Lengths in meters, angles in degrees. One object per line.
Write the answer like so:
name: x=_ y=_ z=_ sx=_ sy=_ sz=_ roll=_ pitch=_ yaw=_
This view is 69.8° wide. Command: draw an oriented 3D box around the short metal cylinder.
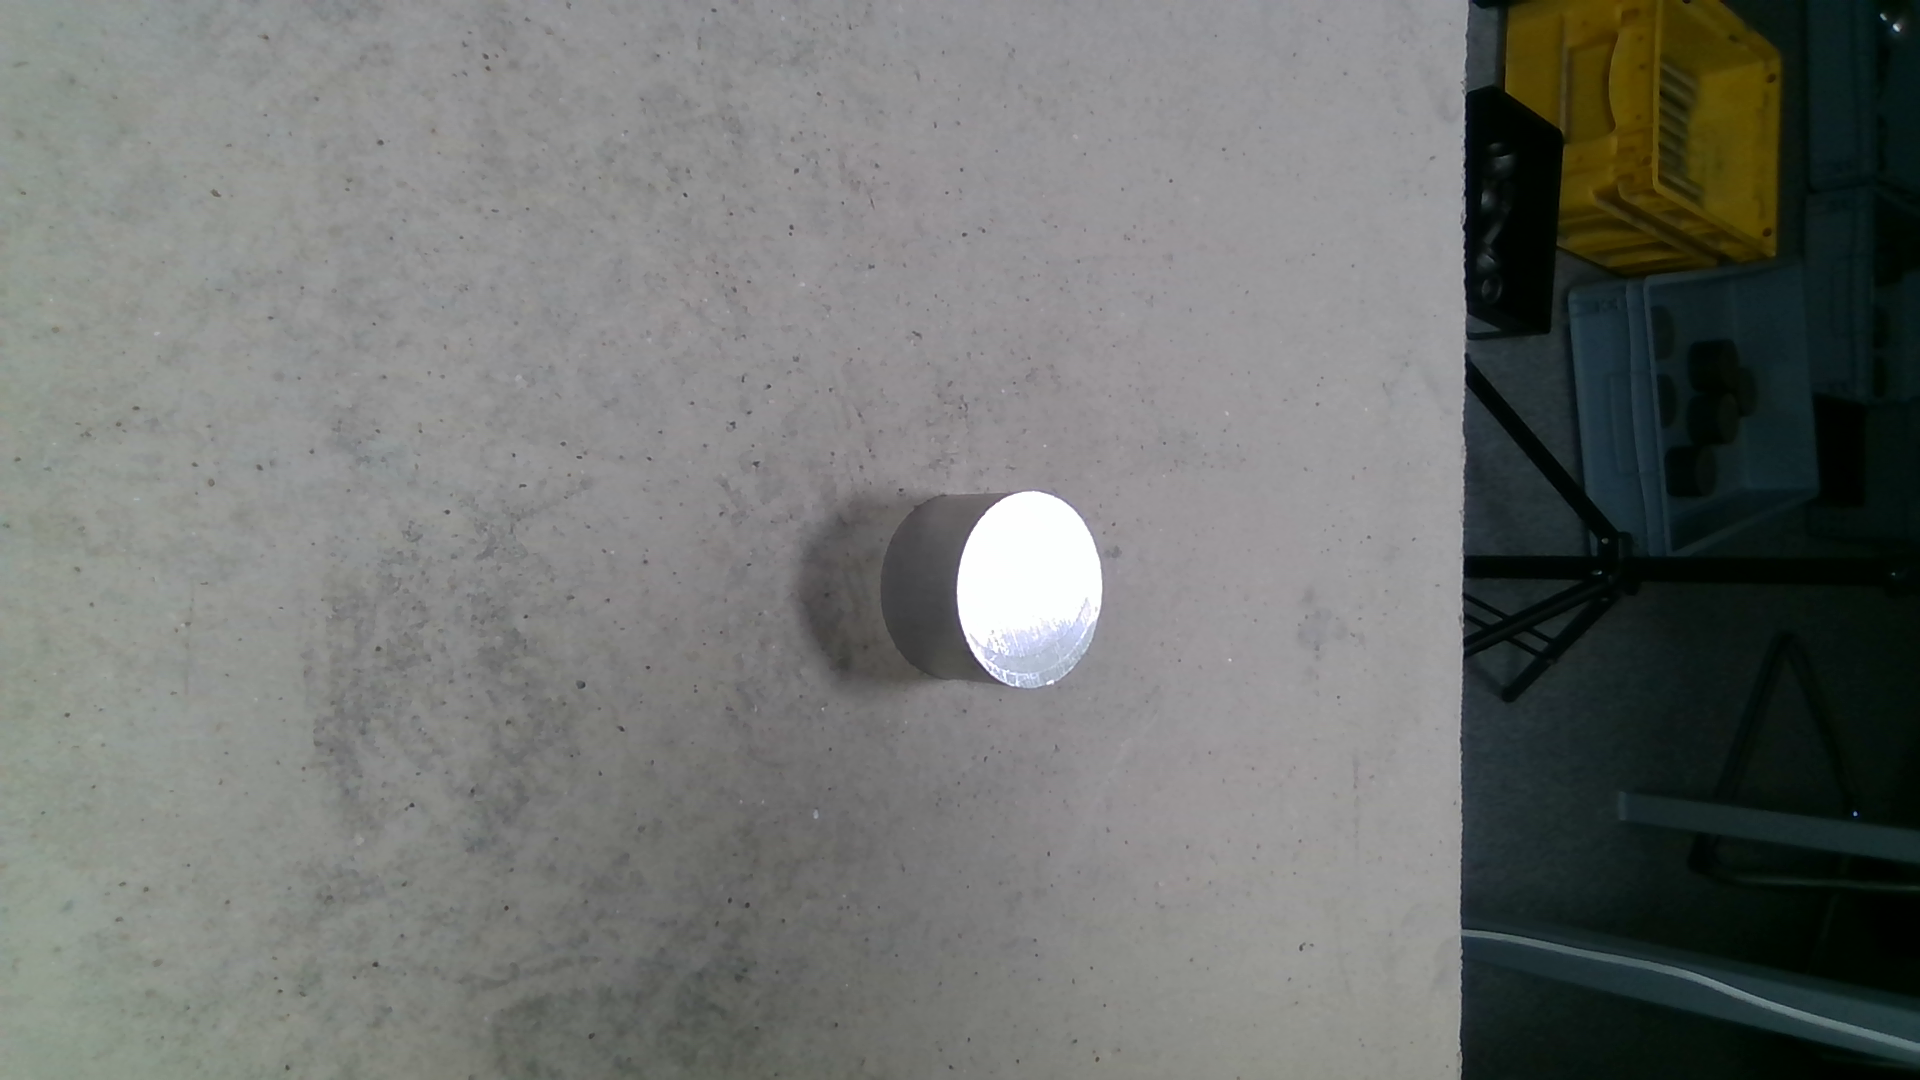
short metal cylinder: x=0.013 y=0.020 z=0.578 sx=0.080 sy=0.050 sz=0.080 roll=0 pitch=90 yaw=-40
